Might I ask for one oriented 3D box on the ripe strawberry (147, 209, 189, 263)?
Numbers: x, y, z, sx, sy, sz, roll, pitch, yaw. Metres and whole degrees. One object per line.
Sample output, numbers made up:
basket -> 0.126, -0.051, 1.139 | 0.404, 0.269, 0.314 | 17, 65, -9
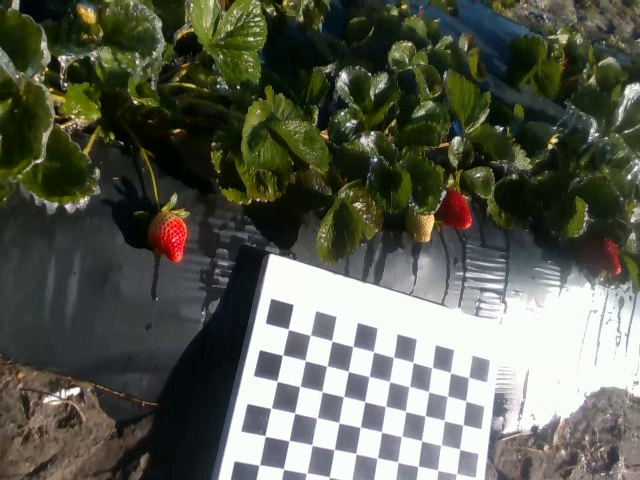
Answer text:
ripe strawberry -> -0.130, 0.000, 0.548 | 0.039, 0.053, 0.040 | -6, -23, -27
